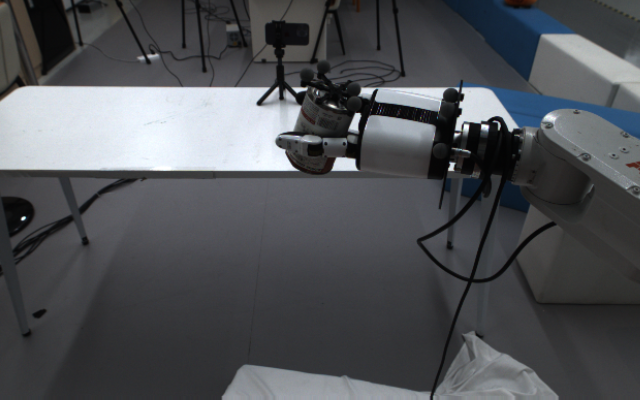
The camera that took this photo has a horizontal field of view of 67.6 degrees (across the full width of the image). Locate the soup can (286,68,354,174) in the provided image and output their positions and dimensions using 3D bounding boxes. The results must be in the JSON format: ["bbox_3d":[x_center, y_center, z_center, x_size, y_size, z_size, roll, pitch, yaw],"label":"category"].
[{"bbox_3d":[0.002,-0.092,0.627,0.067,0.101,0.067,14,39,-12],"label":"soup can"}]
